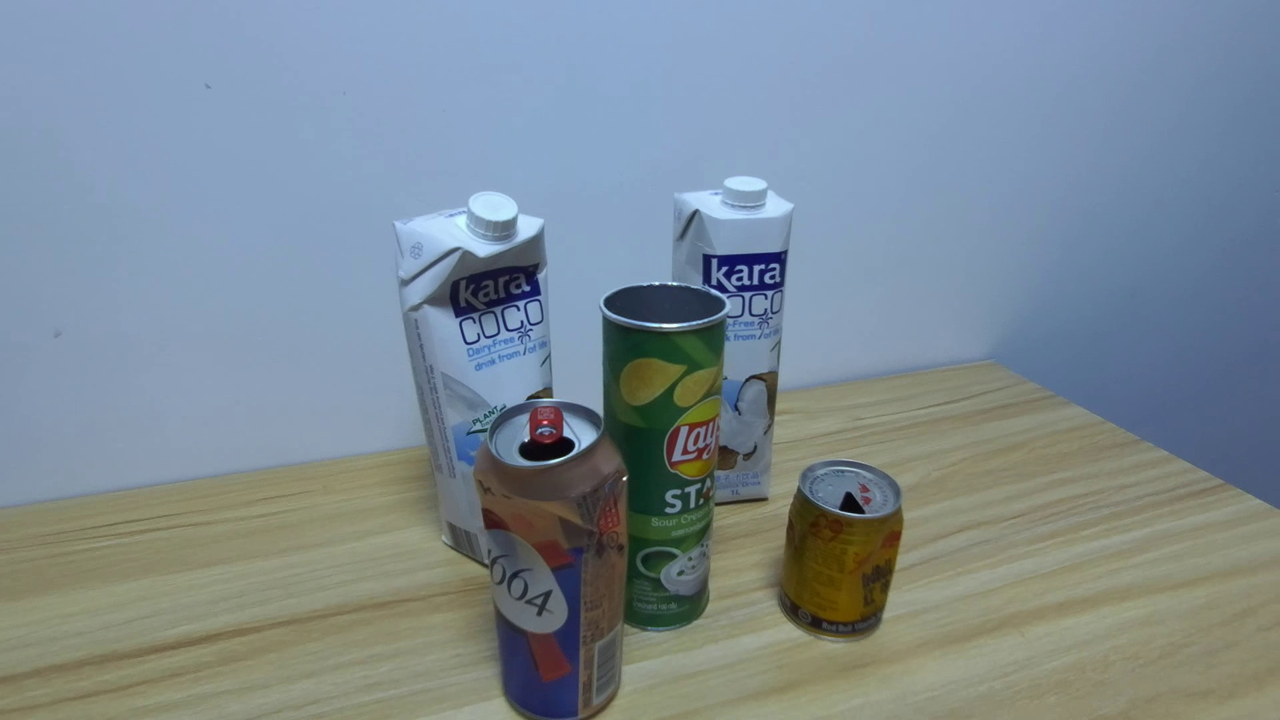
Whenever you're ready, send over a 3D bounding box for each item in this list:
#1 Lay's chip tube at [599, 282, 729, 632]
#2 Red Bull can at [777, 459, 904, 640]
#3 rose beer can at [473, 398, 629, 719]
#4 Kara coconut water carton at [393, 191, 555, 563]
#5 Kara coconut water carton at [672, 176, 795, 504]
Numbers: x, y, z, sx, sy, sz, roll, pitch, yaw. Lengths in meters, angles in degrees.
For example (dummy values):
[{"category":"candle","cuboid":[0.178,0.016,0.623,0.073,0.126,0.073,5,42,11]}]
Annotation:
[{"category":"Lay's chip tube","cuboid":[0.013,0.059,0.418,0.071,0.202,0.071,1,25,0]},{"category":"Red Bull can","cuboid":[0.122,0.115,0.433,0.069,0.092,0.069,1,24,0]},{"category":"rose beer can","cuboid":[-0.044,0.106,0.361,0.065,0.167,0.075,-19,33,-33]},{"category":"Kara coconut water carton","cuboid":[-0.098,0.014,0.467,0.071,0.244,0.100,13,28,36]},{"category":"Kara coconut water carton","cuboid":[0.064,-0.012,0.526,0.077,0.245,0.075,-4,24,-10]}]
